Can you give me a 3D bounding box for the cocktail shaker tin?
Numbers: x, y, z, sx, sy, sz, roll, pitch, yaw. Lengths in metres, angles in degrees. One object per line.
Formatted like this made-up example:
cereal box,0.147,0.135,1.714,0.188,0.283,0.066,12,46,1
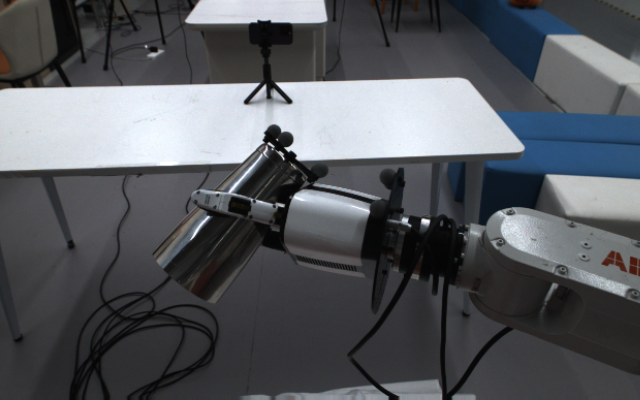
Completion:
cocktail shaker tin,-0.093,0.019,0.548,0.170,0.093,0.093,-48,49,-3
